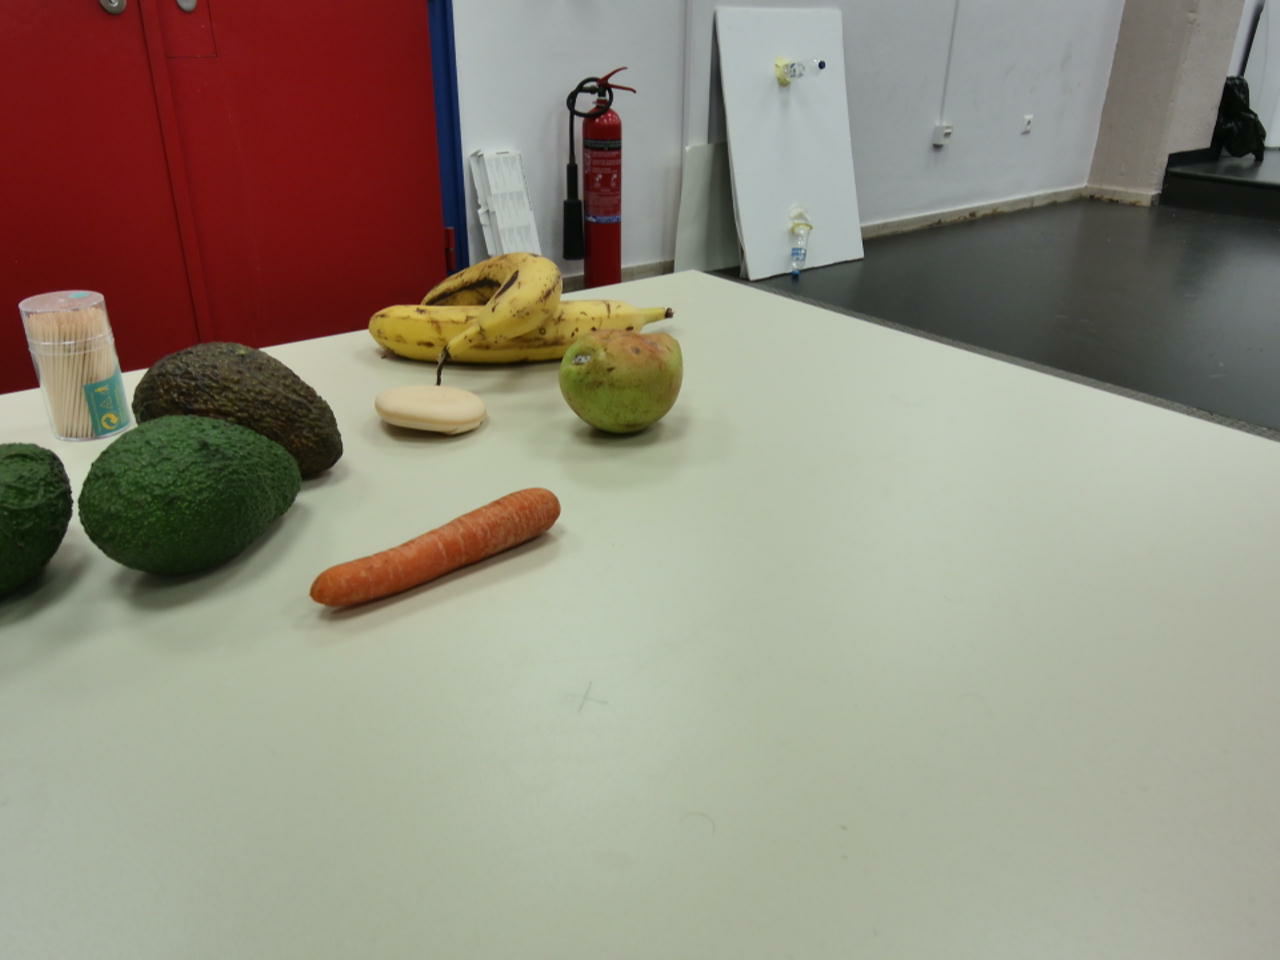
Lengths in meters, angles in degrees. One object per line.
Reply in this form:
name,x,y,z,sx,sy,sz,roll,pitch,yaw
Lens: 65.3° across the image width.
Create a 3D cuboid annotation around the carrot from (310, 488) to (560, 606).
carrot,-0.085,0.028,0.433,0.122,0.023,0.024,-19,30,-38
